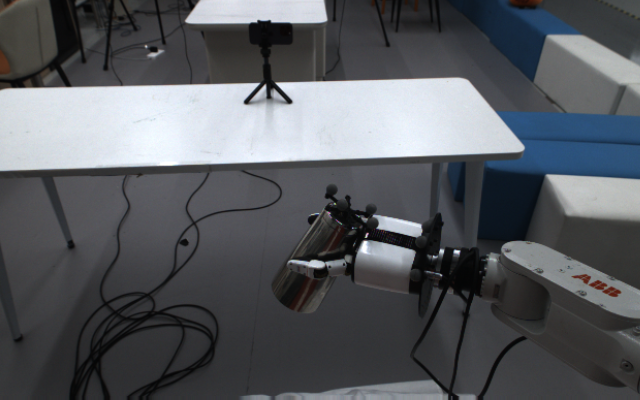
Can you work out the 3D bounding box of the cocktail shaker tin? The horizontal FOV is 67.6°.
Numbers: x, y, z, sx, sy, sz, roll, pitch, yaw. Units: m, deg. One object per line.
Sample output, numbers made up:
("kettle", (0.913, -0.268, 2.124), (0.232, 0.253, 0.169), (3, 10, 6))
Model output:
("cocktail shaker tin", (0.000, 0.084, 0.770), (0.093, 0.170, 0.093), (25, 29, -15))
